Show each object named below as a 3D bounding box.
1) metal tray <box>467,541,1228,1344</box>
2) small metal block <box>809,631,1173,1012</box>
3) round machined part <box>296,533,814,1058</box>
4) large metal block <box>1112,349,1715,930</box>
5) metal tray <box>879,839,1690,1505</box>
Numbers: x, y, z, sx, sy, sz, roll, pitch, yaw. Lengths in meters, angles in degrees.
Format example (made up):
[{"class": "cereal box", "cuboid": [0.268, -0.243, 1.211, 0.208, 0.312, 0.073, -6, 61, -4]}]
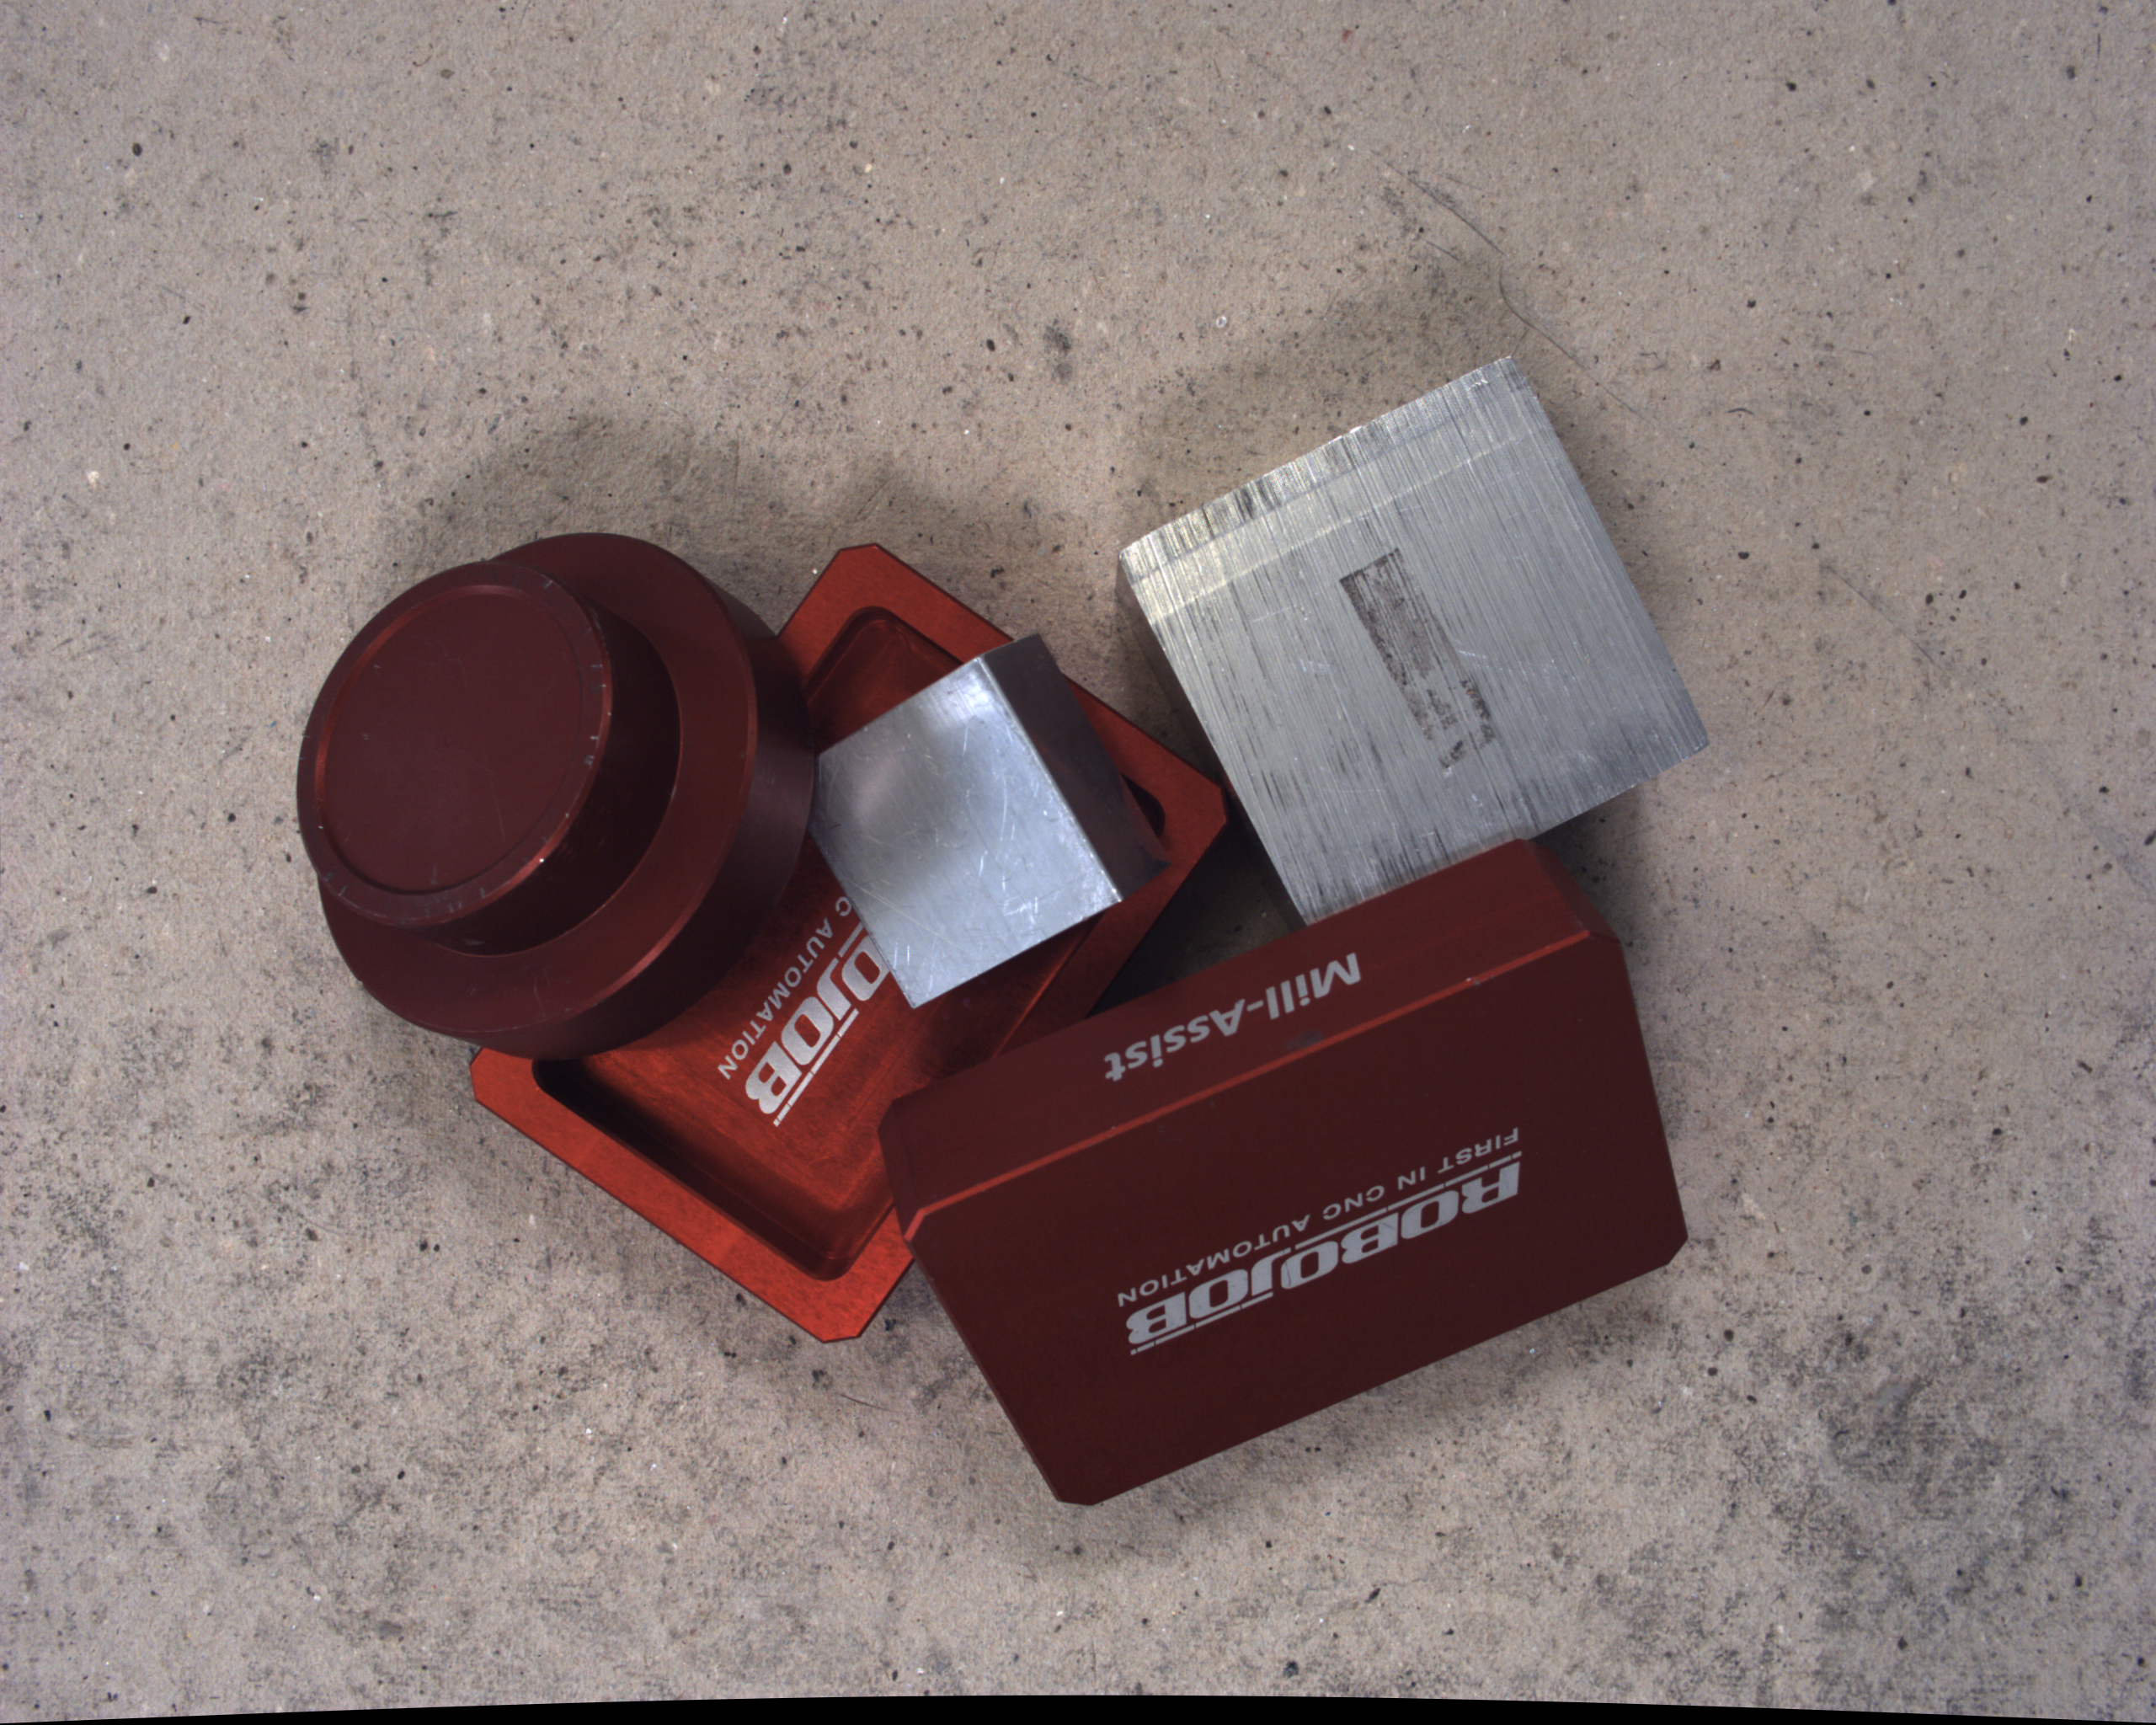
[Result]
[{"class": "metal tray", "cuboid": [-0.043, 0.015, 0.407, 0.090, 0.030, 0.130, 35, 90, 0]}, {"class": "small metal block", "cuboid": [-0.019, -0.007, 0.388, 0.050, 0.025, 0.050, -29, 93, 28]}, {"class": "round machined part", "cuboid": [-0.101, -0.016, 0.381, 0.098, 0.042, 0.098, -8, 70, 22]}, {"class": "large metal block", "cuboid": [0.060, -0.039, 0.399, 0.080, 0.050, 0.080, -27, 90, 0]}, {"class": "metal tray", "cuboid": [0.041, 0.060, 0.386, 0.131, 0.030, 0.090, -23, 126, 0]}]
